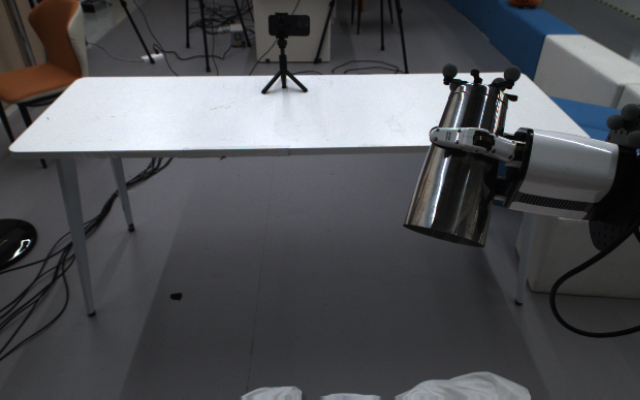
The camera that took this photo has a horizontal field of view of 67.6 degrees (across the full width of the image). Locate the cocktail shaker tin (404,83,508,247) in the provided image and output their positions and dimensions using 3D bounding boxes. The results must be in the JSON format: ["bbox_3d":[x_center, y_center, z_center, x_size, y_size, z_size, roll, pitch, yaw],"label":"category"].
[{"bbox_3d":[0.162,-0.041,0.553,0.093,0.170,0.093,16,-6,2],"label":"cocktail shaker tin"}]
